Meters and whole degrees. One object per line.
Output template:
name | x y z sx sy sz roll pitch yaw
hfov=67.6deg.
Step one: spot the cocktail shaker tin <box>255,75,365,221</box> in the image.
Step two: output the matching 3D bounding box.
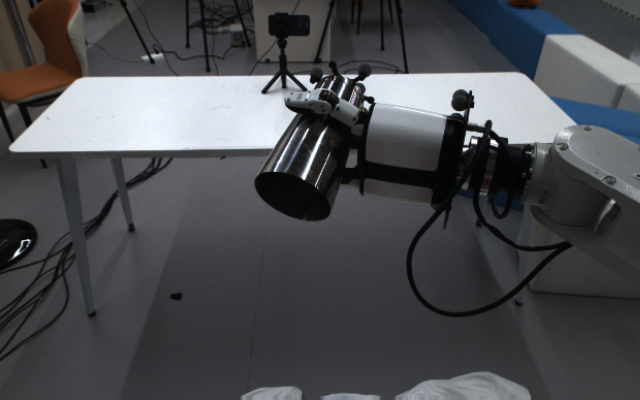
cocktail shaker tin | -0.003 -0.070 0.582 0.093 0.093 0.170 13 59 16
